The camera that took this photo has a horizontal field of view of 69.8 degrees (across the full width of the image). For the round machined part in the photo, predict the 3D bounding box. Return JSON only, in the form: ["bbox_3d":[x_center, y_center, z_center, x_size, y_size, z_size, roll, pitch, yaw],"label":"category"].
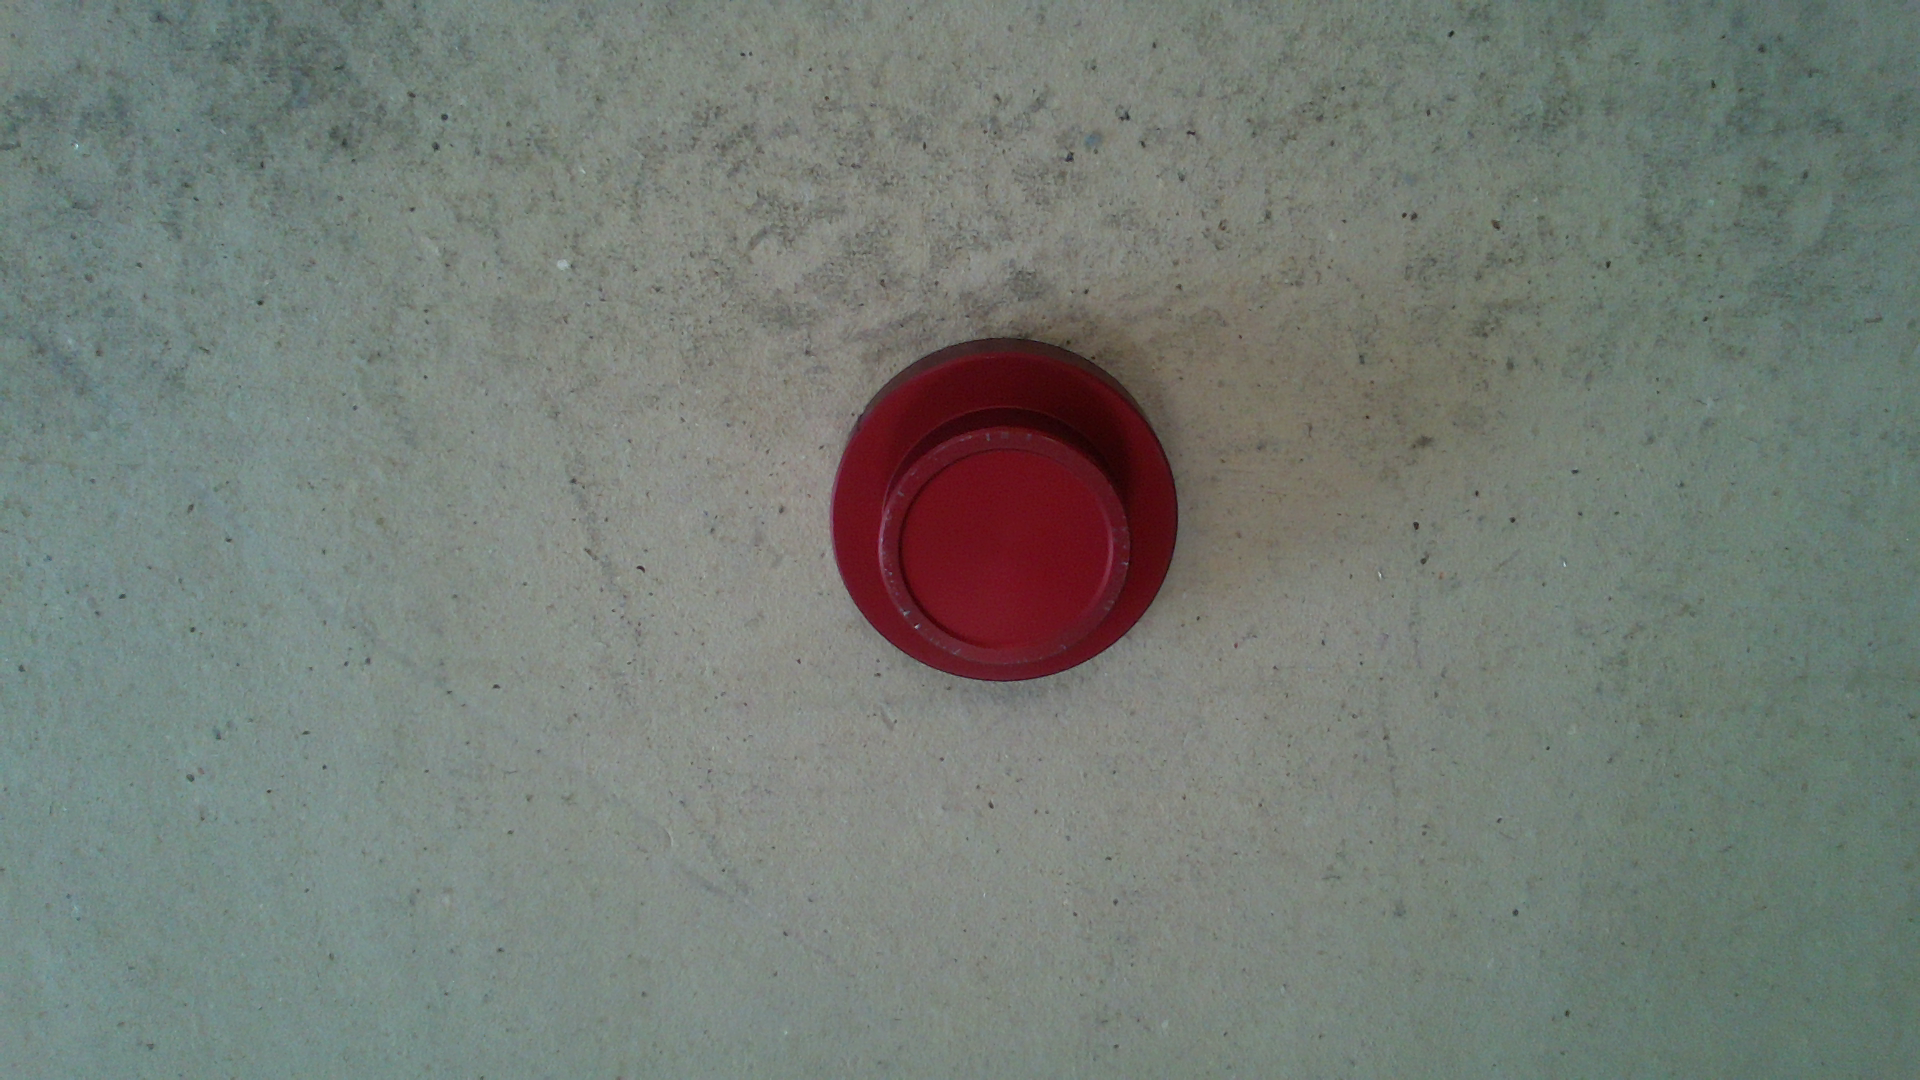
[{"bbox_3d":[0.012,-0.004,0.384,0.098,0.042,0.098,0,110,0],"label":"round machined part"}]
